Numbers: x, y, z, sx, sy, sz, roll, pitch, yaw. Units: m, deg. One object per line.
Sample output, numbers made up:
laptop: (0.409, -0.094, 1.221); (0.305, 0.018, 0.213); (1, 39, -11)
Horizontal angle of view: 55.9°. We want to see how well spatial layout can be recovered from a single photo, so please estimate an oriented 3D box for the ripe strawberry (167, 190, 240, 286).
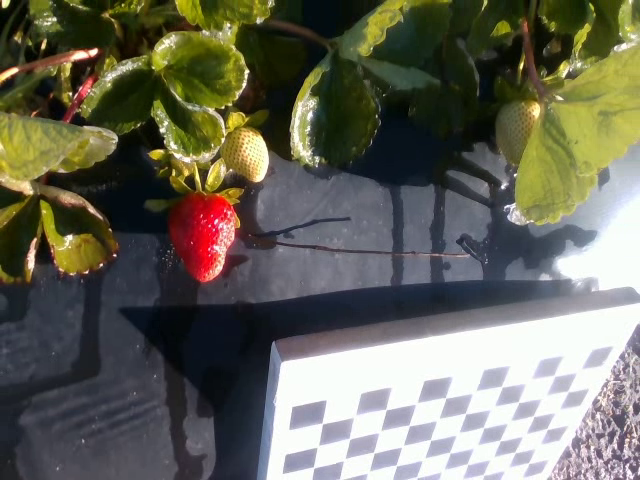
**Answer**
ripe strawberry: (-0.048, 0.003, 0.252); (0.039, 0.039, 0.040); (-7, -26, -5)
